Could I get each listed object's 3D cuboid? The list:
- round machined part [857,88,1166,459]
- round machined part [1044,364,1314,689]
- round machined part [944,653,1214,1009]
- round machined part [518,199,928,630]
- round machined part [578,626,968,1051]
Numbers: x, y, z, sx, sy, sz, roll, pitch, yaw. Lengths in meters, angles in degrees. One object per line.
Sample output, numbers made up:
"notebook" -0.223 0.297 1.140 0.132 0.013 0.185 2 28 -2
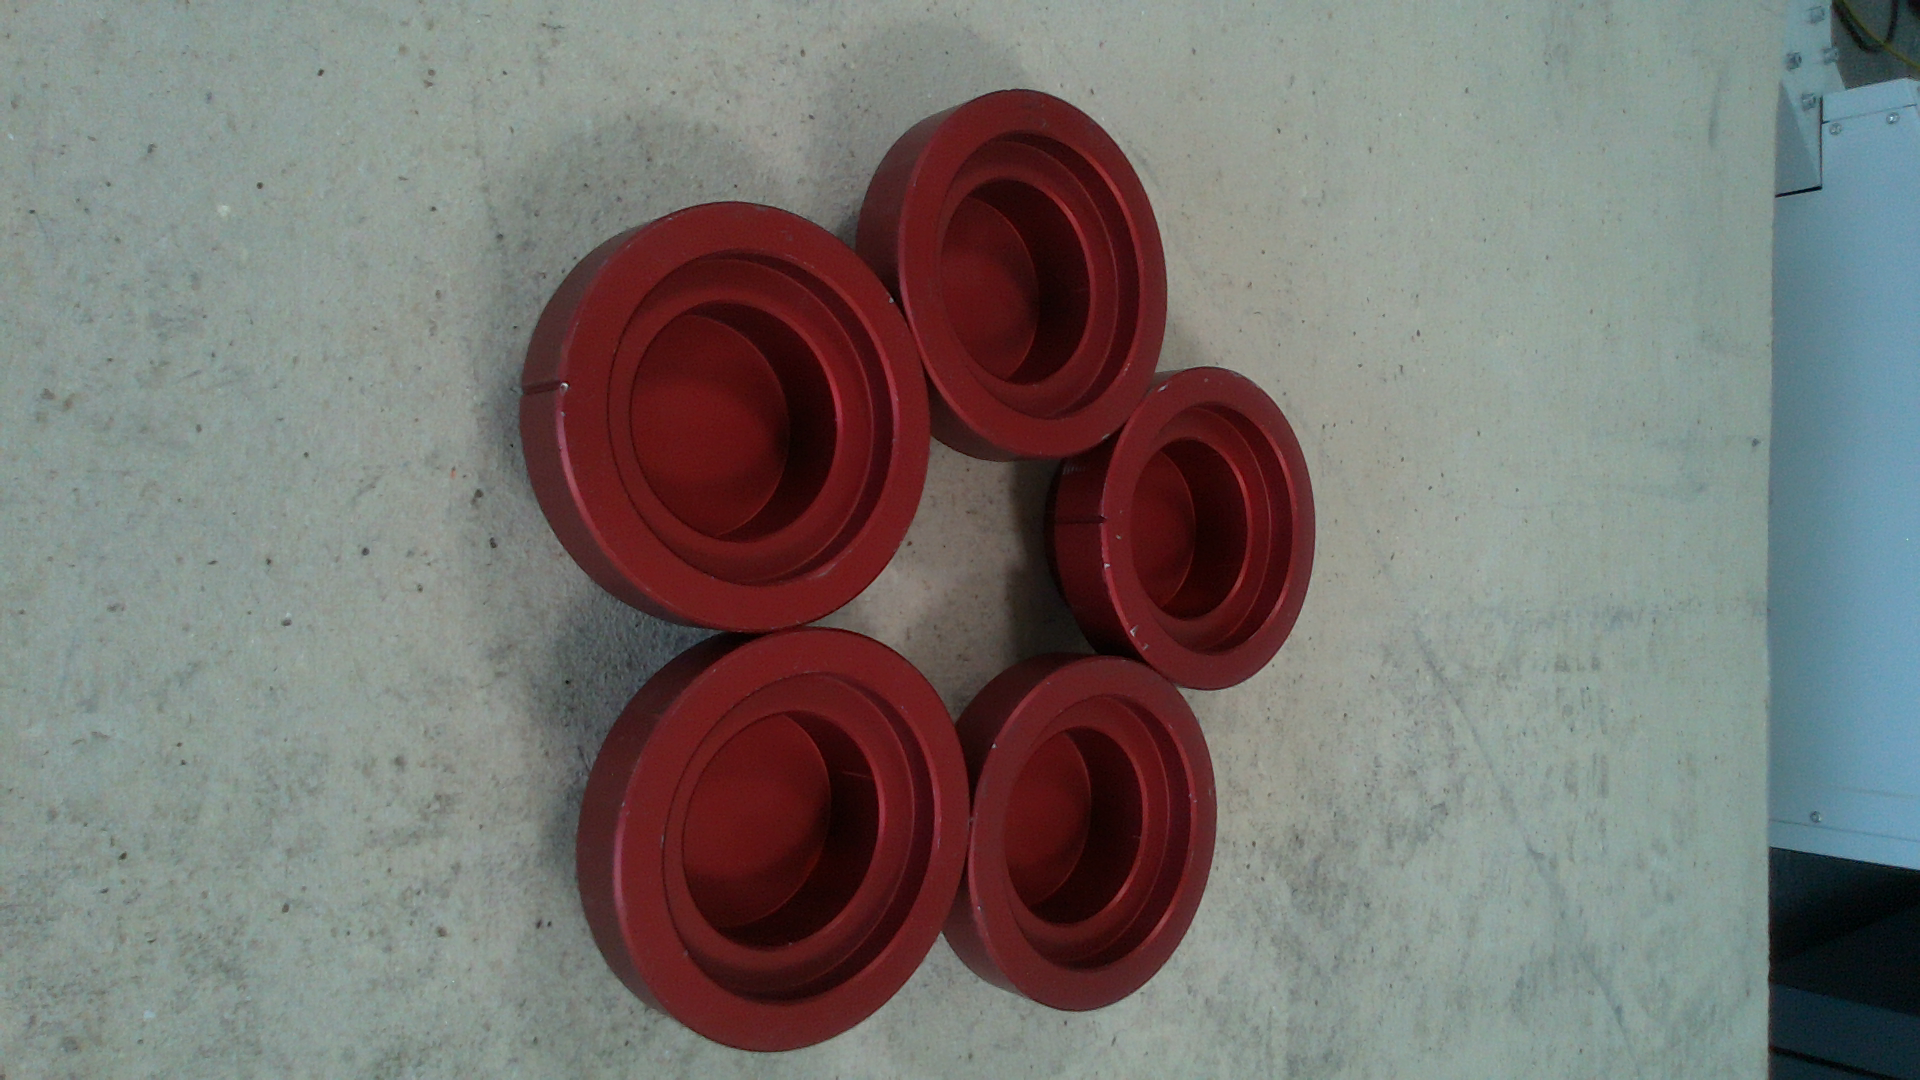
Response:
"round machined part" 0.010 -0.071 0.385 0.098 0.042 0.098 2 88 -41
"round machined part" 0.065 -0.004 0.431 0.098 0.042 0.098 2 88 -41
"round machined part" 0.027 0.082 0.400 0.098 0.042 0.098 1 89 -41
"round machined part" -0.058 -0.028 0.329 0.098 0.042 0.098 2 88 -40
"round machined part" -0.048 0.070 0.337 0.098 0.042 0.098 2 88 -41
